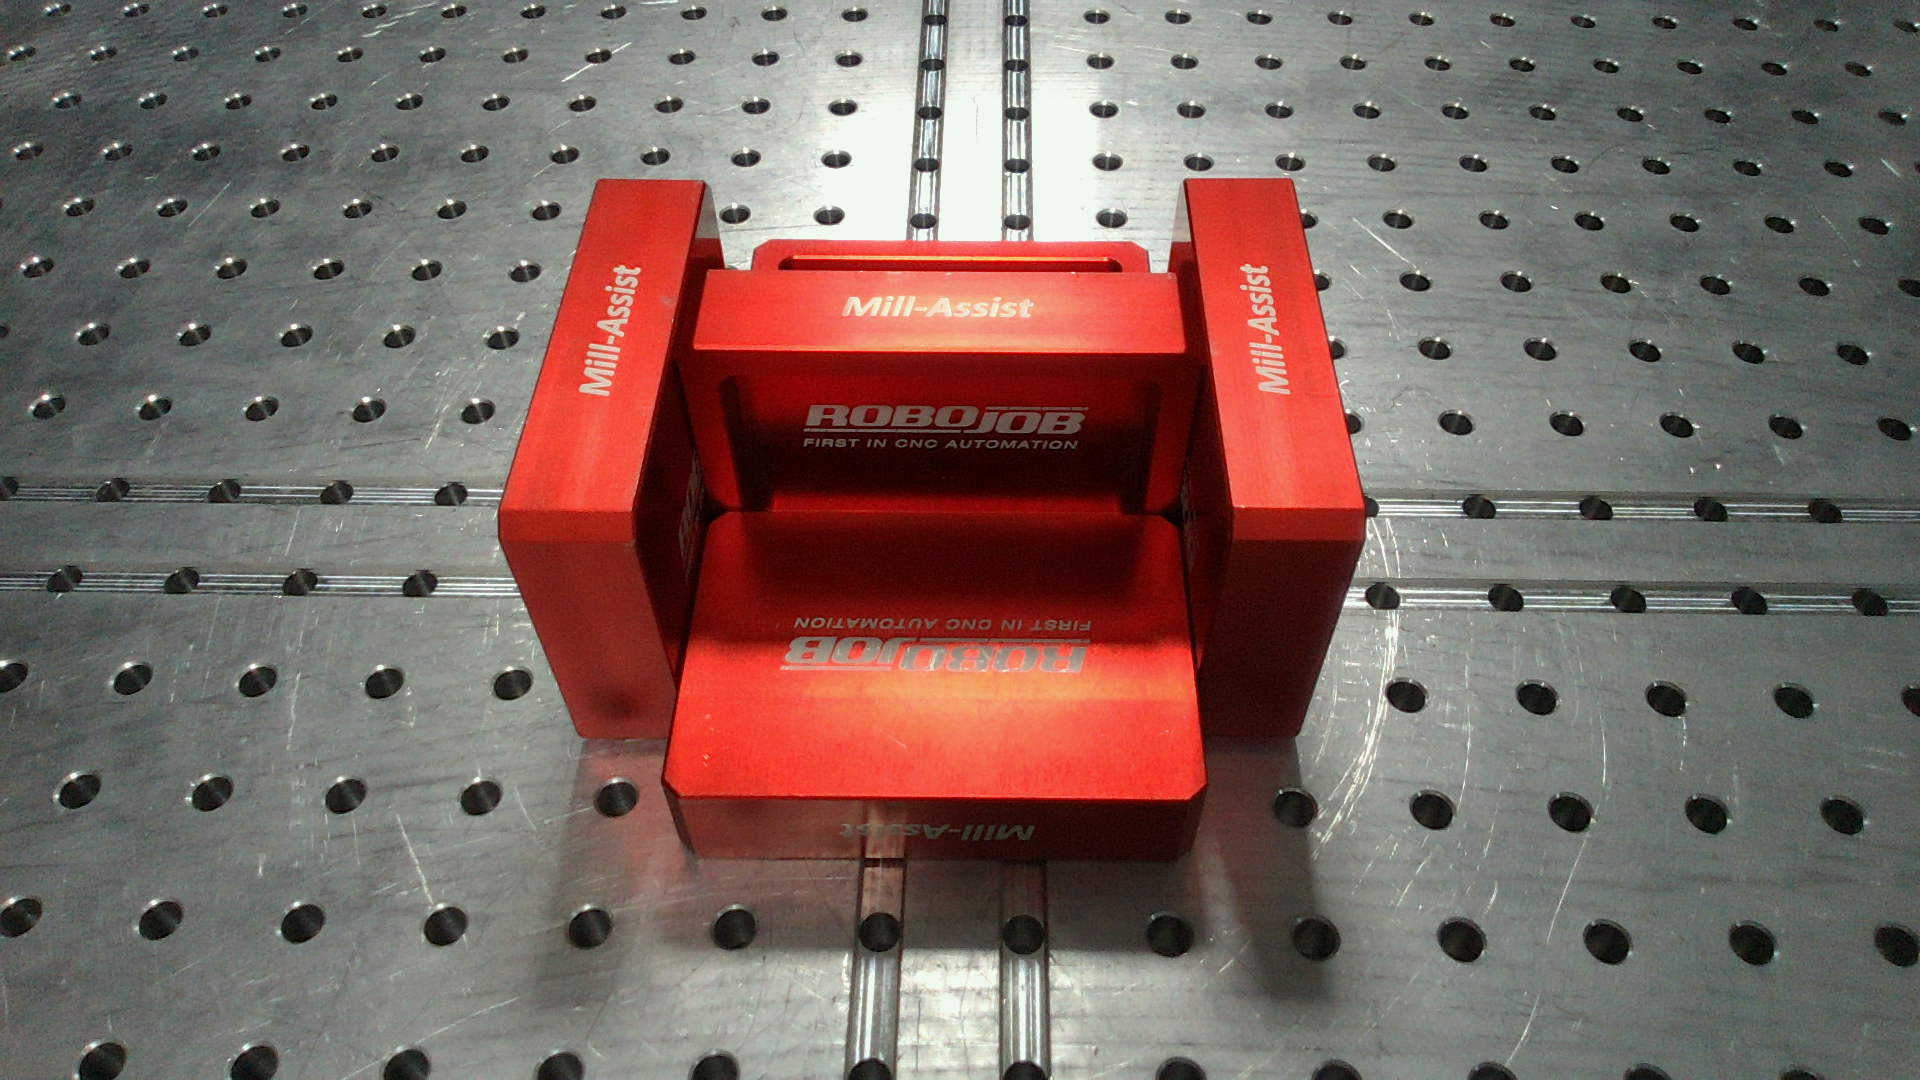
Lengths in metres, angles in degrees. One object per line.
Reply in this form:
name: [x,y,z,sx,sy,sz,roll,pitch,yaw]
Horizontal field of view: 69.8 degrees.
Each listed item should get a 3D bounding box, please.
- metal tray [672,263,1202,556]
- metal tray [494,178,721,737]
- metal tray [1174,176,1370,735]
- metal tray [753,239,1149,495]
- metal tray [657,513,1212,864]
metal tray: [-0.005,-0.030,0.376,0.130,0.090,0.030,0,50,1]
metal tray: [-0.085,-0.024,0.371,0.030,0.090,0.130,1,50,1]
metal tray: [0.076,-0.025,0.372,0.030,0.090,0.130,1,50,1]
metal tray: [-0.004,-0.056,0.438,0.130,0.030,0.090,0,50,0]
metal tray: [-0.005,0.036,0.359,0.130,0.030,0.090,0,50,0]
